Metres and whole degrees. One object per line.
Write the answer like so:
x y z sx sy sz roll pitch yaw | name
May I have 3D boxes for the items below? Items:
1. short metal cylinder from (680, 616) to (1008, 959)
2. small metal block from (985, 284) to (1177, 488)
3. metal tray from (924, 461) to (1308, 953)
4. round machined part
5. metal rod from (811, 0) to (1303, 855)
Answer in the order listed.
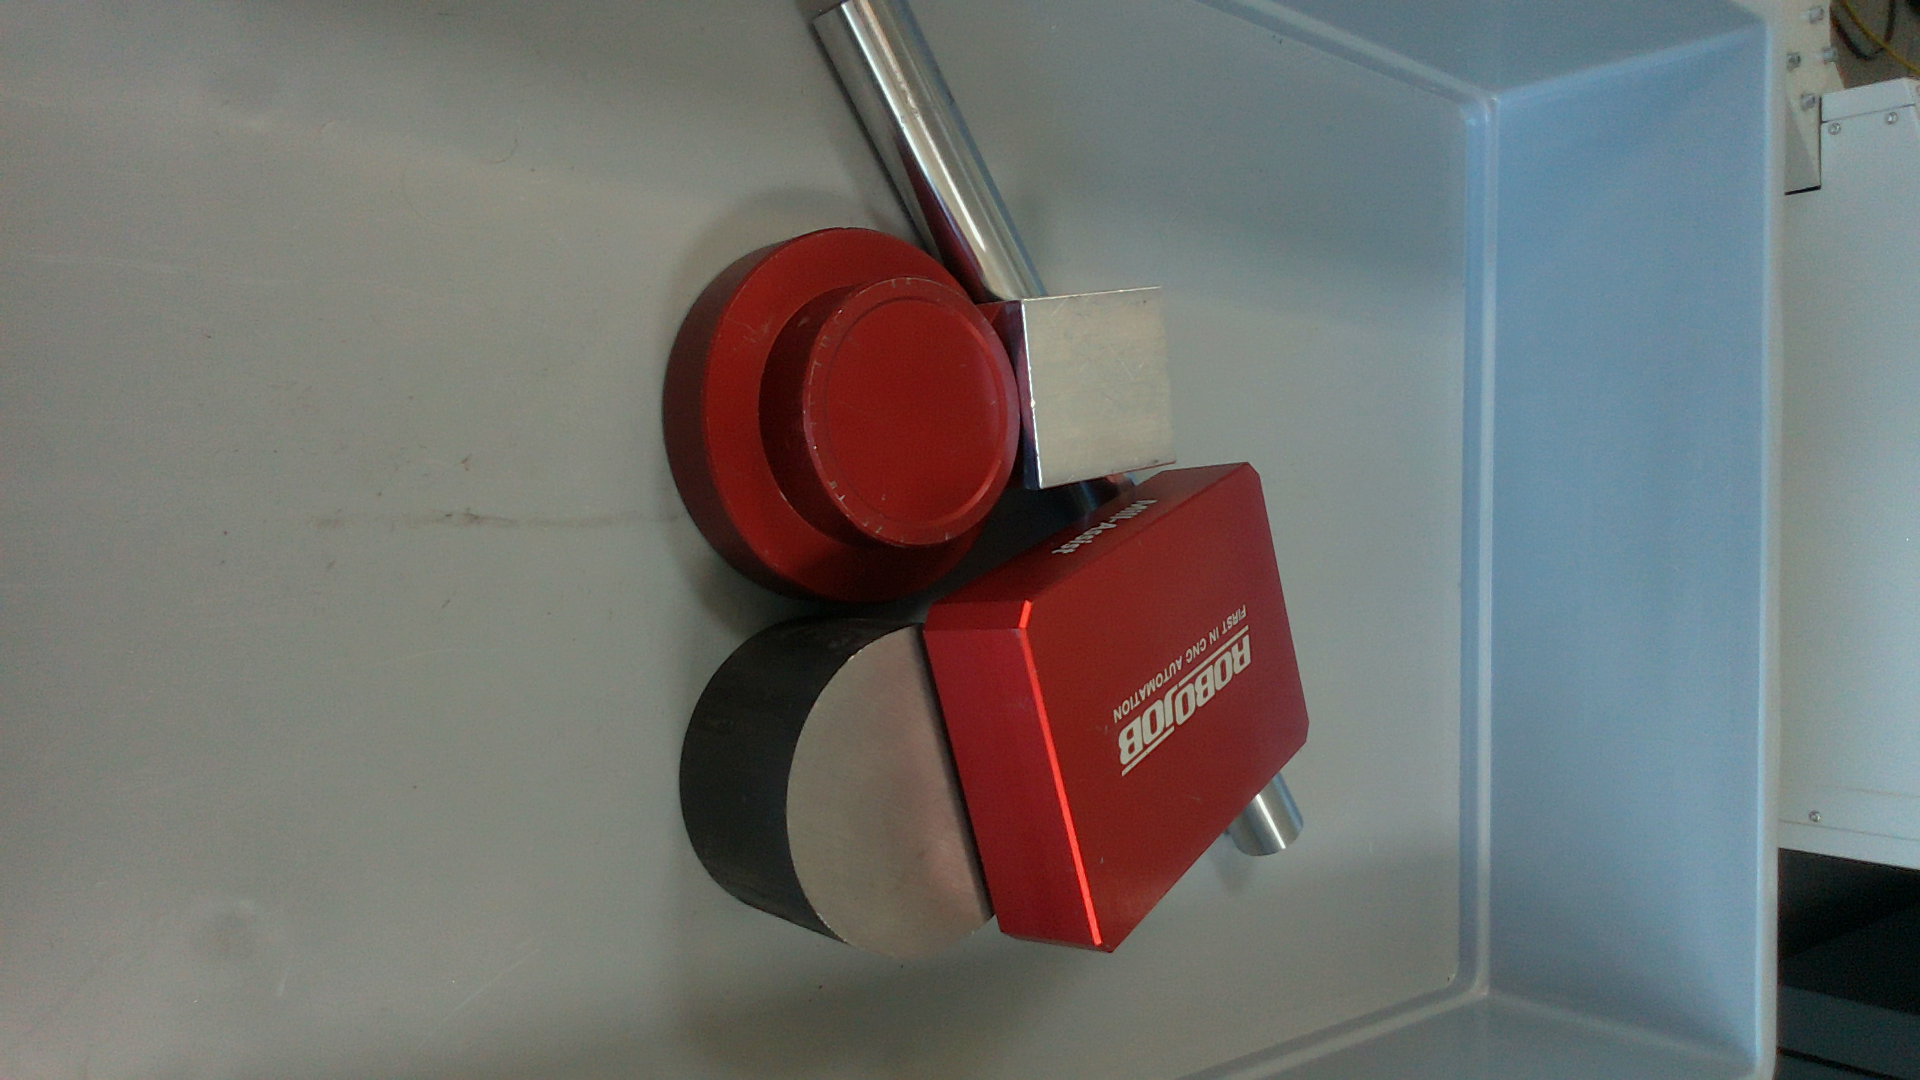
-0.023 0.060 0.351 0.080 0.050 0.080 0 90 -40 | short metal cylinder
0.031 -0.043 0.383 0.050 0.025 0.050 -12 100 -34 | small metal block
0.049 0.039 0.375 0.130 0.030 0.090 -28 108 -49 | metal tray
-0.023 -0.033 0.356 0.098 0.042 0.098 0 90 -39 | round machined part
0.039 -0.021 0.420 0.025 0.025 0.300 -43 116 -31 | metal rod
